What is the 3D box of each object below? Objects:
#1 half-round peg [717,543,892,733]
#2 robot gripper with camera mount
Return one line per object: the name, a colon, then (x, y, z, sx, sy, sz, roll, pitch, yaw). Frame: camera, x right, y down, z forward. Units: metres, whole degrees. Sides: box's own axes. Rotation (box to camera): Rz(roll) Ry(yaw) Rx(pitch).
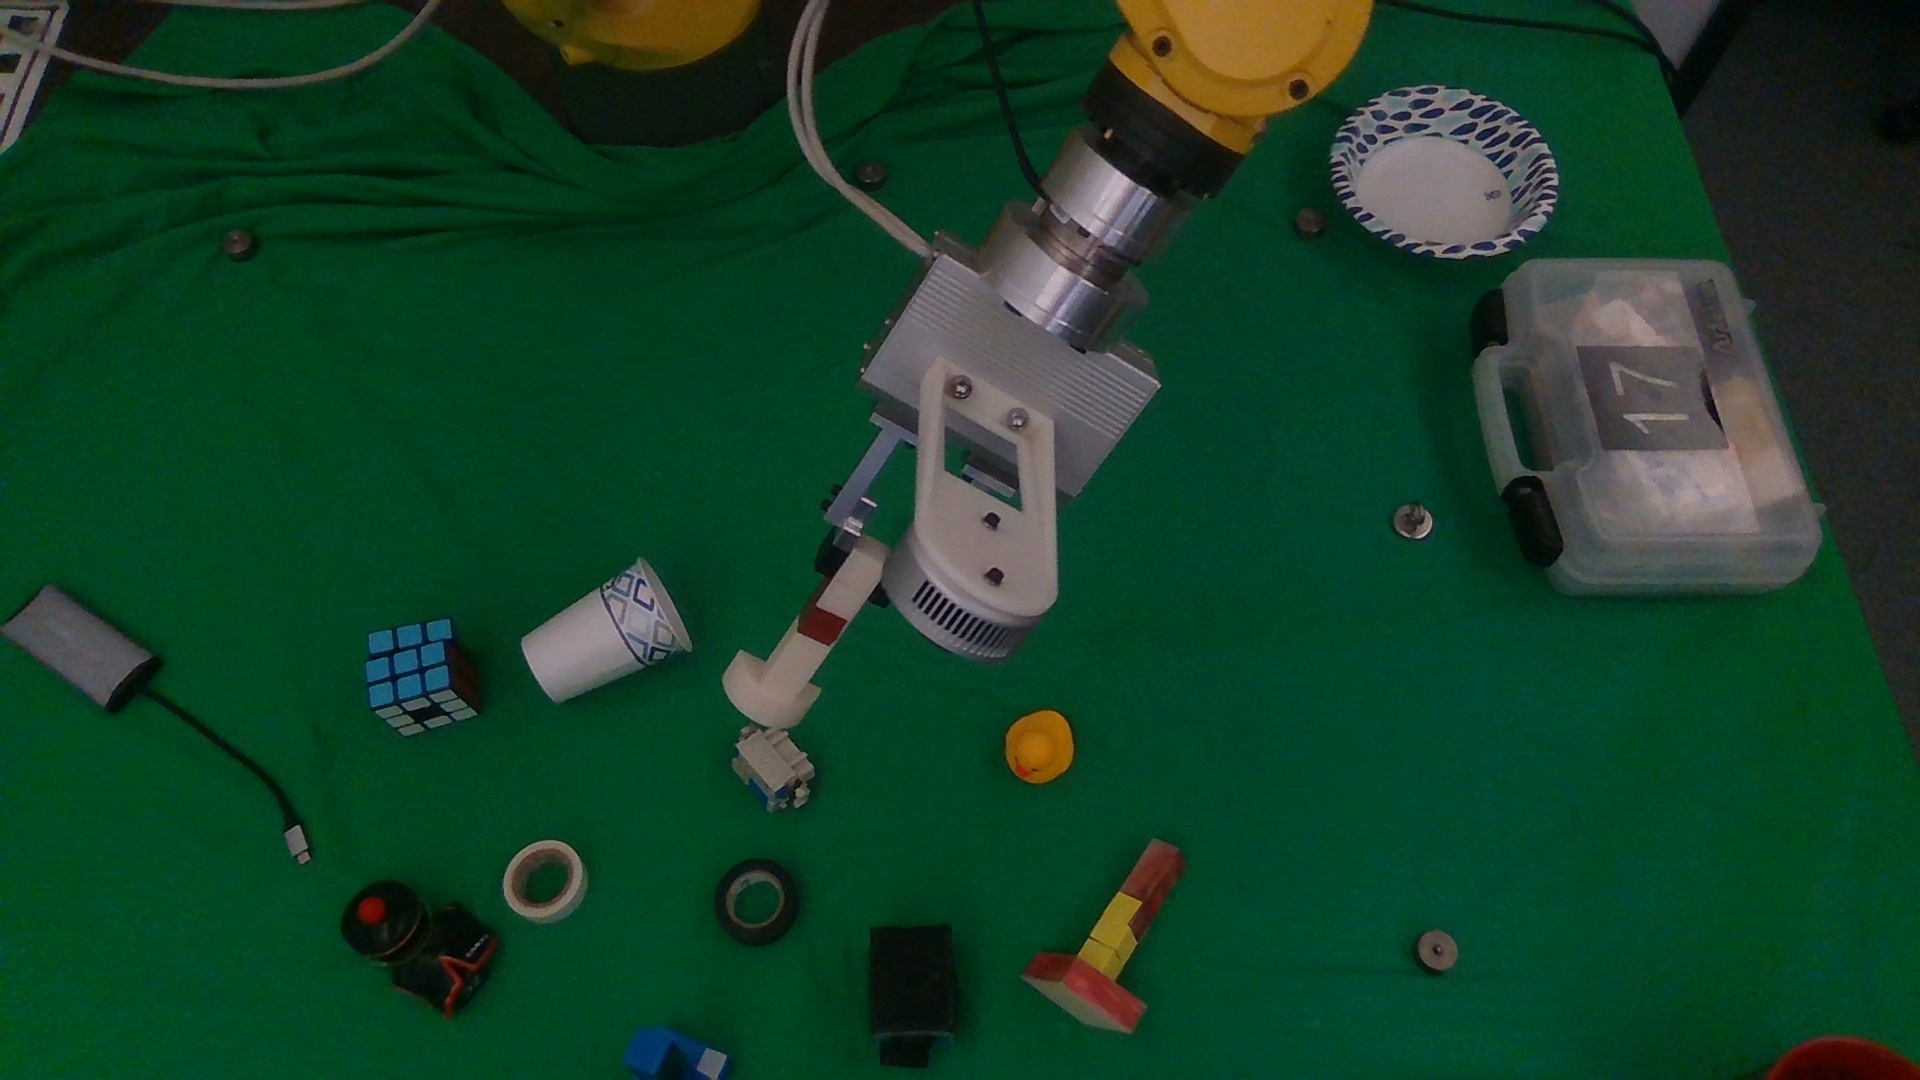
half-round peg: (-0.075, 0.049, 0.709, 0.054, 0.122, 0.031, 29, 29, -14)
robot gripper with camera mount: (-0.008, 0.011, 0.590, 0.119, 0.159, 0.193, 27, 26, -15)
